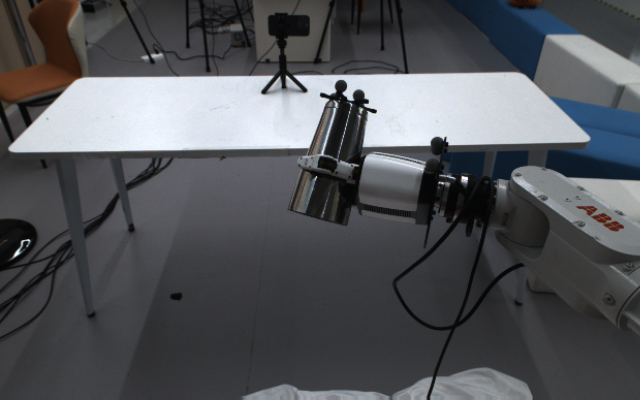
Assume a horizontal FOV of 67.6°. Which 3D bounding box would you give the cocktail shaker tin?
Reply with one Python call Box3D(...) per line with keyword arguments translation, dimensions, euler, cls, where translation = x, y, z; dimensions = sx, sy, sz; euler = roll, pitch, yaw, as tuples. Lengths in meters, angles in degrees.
Box3D(translation=(0.018, -0.055, 0.716), dimensions=(0.093, 0.170, 0.093), euler=(15, -4, 1), cls="cocktail shaker tin")
